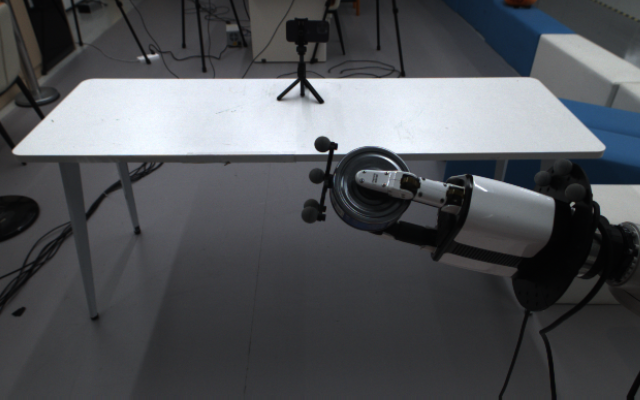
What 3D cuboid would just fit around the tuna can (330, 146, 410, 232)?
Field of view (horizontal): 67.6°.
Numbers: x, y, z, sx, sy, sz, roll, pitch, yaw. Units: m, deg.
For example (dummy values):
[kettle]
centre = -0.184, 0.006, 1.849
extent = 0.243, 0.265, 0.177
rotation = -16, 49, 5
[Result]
[tuna can]
centre = 0.058, -0.009, 0.507
extent = 0.085, 0.034, 0.085
rotation = 2, 73, -5
